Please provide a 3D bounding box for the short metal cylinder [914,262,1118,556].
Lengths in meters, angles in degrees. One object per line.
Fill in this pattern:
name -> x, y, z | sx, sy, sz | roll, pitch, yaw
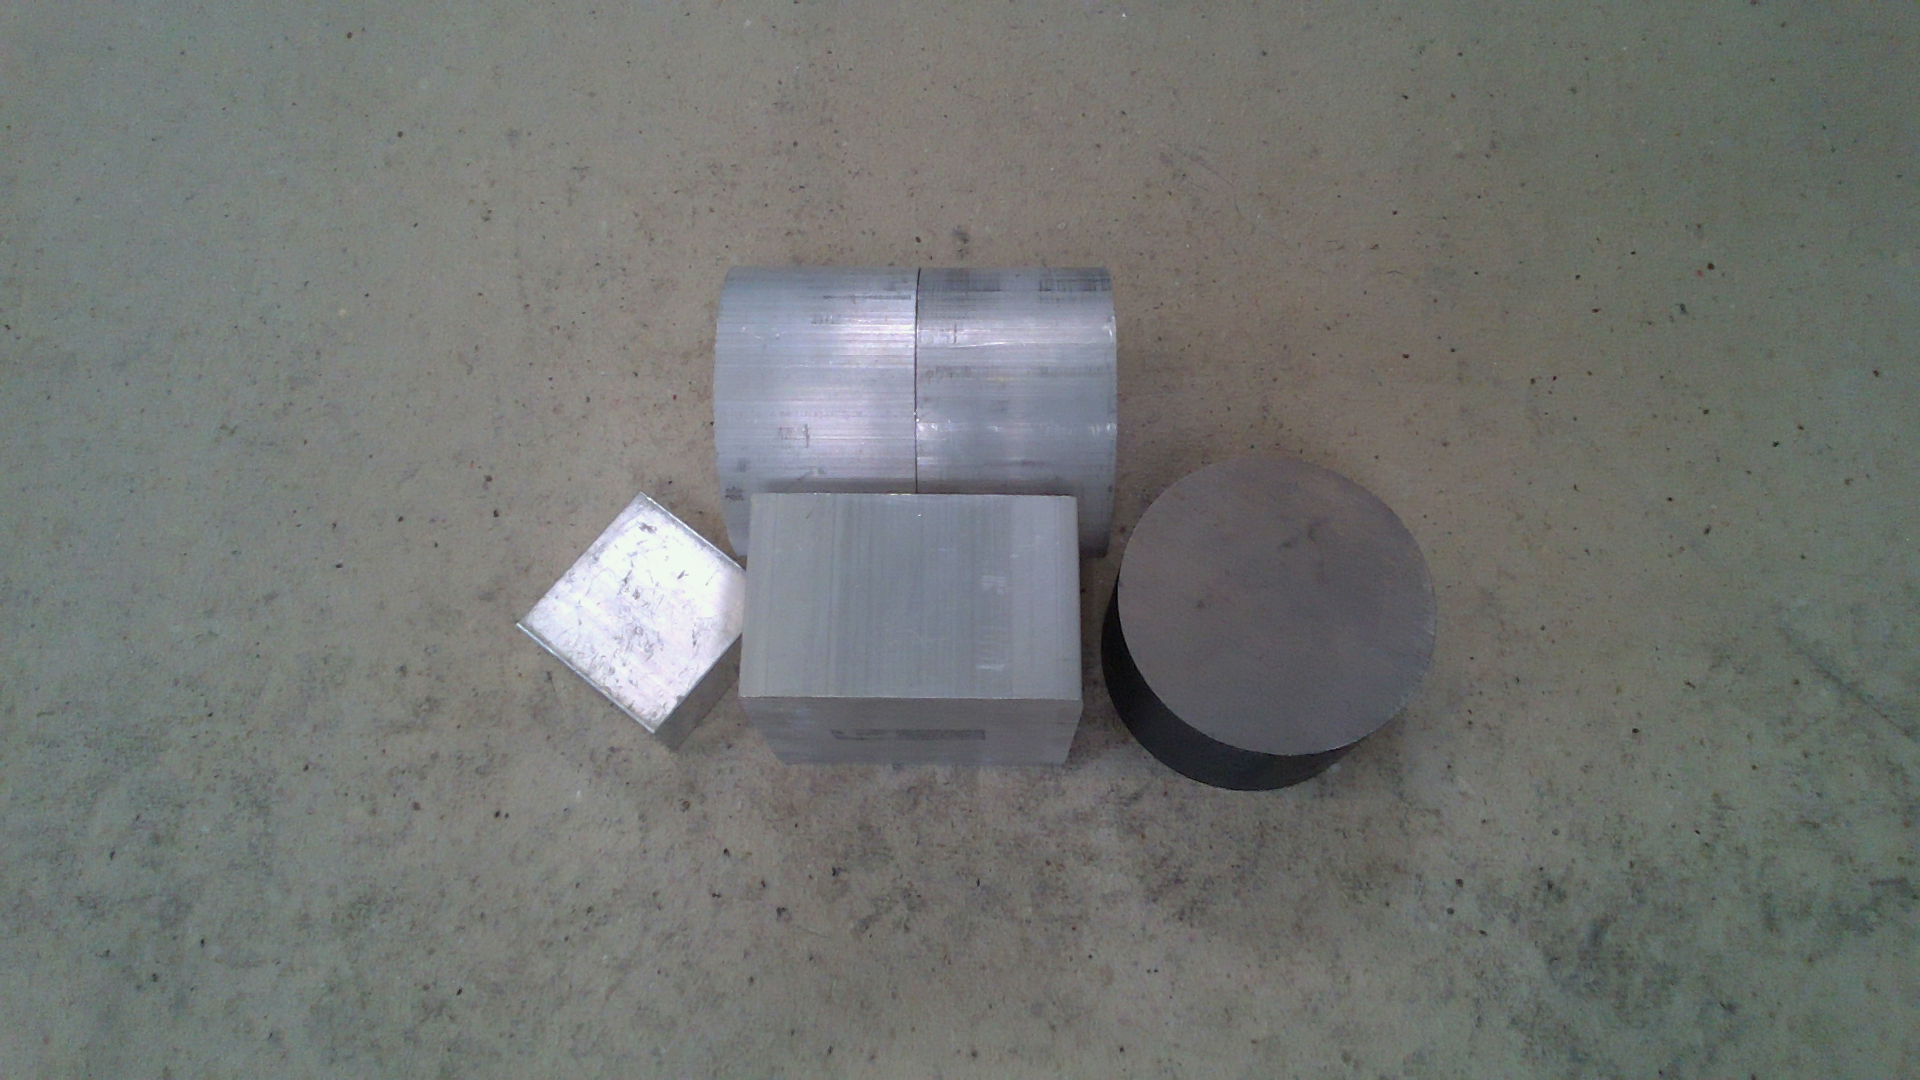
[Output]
short metal cylinder -> 0.014, -0.035, 0.379 | 0.050, 0.080, 0.080 | 1, 70, 0

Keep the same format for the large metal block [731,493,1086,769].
large metal block -> -0.011, 0.026, 0.356 | 0.080, 0.080, 0.050 | 1, 70, 0

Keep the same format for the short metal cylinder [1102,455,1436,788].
short metal cylinder -> 0.081, 0.024, 0.373 | 0.080, 0.050, 0.080 | 0, 70, 0

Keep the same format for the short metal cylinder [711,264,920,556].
short metal cylinder -> -0.036, -0.035, 0.378 | 0.050, 0.080, 0.080 | 1, 70, 0

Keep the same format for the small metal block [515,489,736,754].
small metal block -> -0.086, 0.023, 0.387 | 0.050, 0.025, 0.050 | 36, 74, 12
